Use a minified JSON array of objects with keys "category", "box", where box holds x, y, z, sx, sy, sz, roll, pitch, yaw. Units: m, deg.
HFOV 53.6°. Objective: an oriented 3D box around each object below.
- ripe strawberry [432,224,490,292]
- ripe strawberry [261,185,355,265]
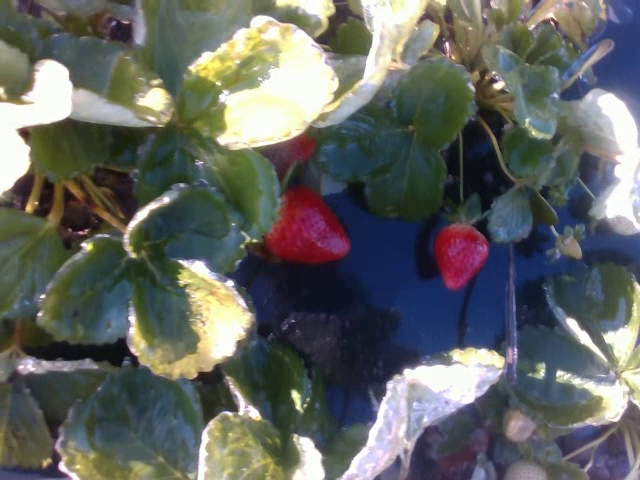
[{"category":"ripe strawberry","box":[0.086,0.012,0.378,0.039,0.047,0.040,19,-4,-30]},{"category":"ripe strawberry","box":[-0.002,-0.001,0.347,0.056,0.044,0.040,32,1,-30]}]
